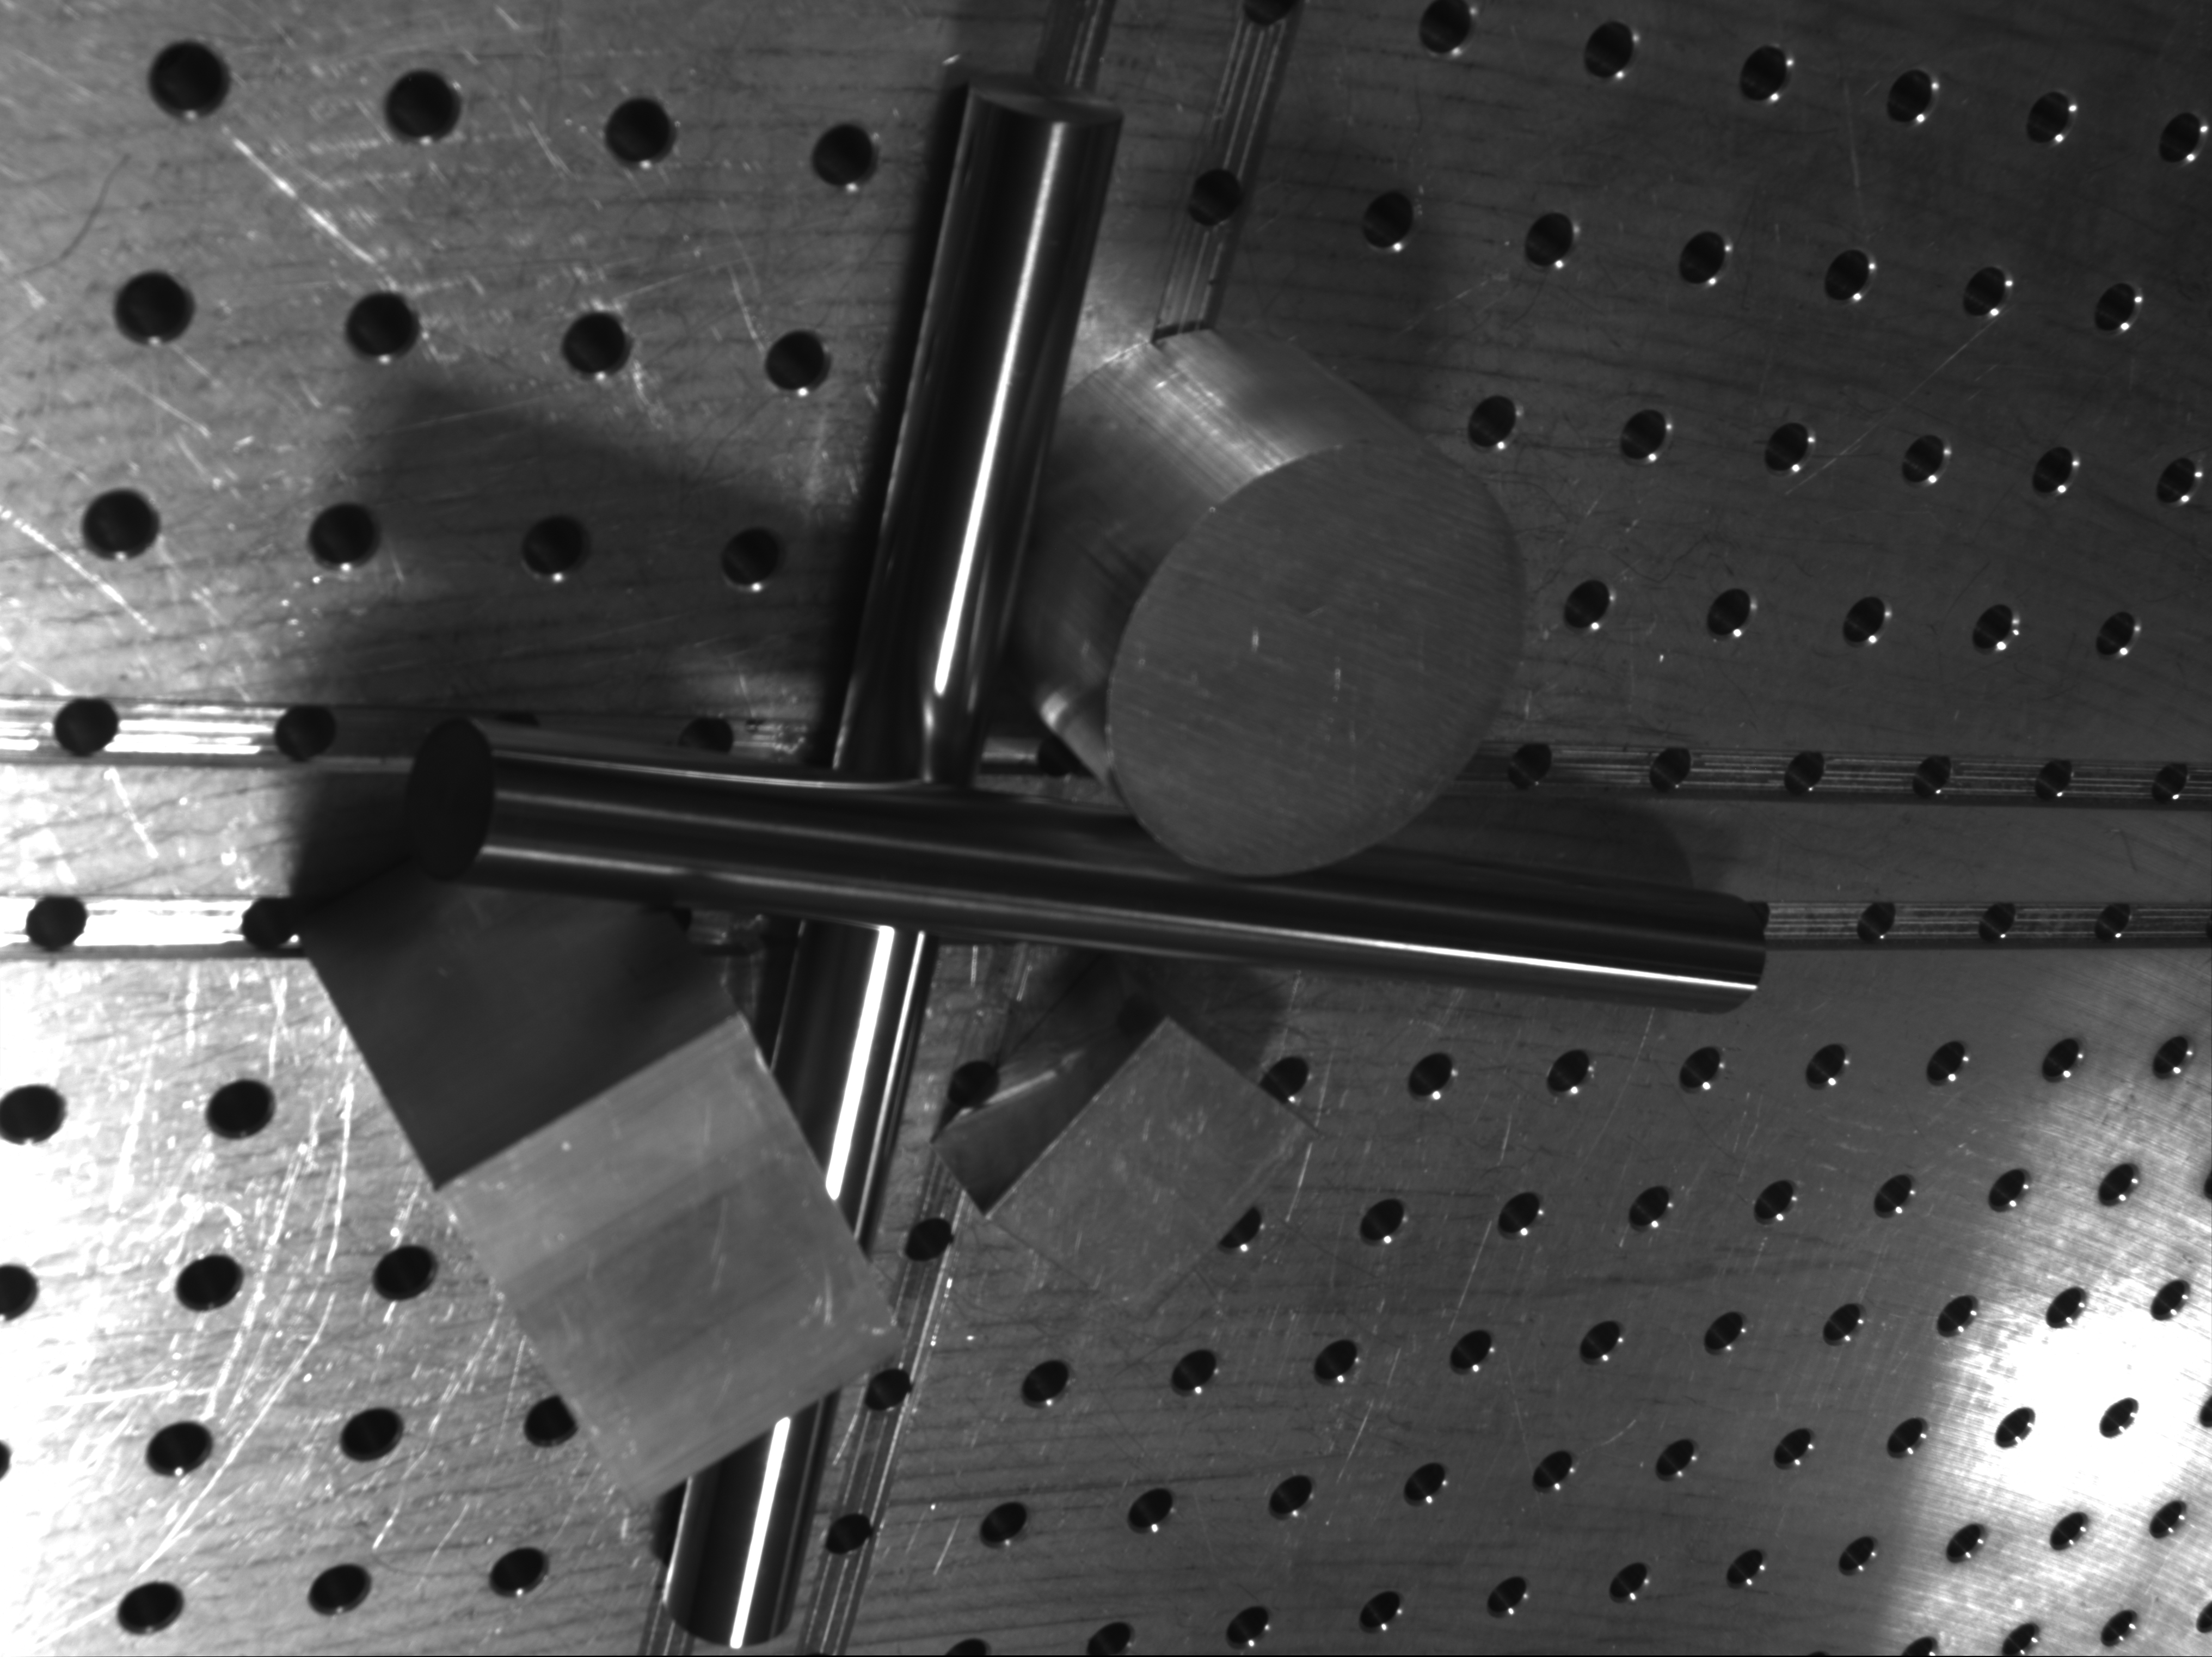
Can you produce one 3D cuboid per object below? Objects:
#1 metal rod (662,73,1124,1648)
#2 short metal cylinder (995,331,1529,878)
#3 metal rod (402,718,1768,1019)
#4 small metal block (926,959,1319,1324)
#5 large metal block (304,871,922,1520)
[{"bbox_3d":[-0.041,0.017,0.641,0.025,0.025,0.300,-2,119,-29],"label":"metal rod"},{"bbox_3d":[0.025,-0.039,0.628,0.080,0.050,0.080,-15,125,-22],"label":"short metal cylinder"},{"bbox_3d":[0.013,0.011,0.644,0.301,0.025,0.025,8,114,-42],"label":"metal rod"},{"bbox_3d":[0.003,0.059,0.693,0.050,0.025,0.050,-48,130,4],"label":"small metal block"},{"bbox_3d":[-0.081,0.051,0.601,0.050,0.080,0.080,-31,129,-10],"label":"large metal block"}]
